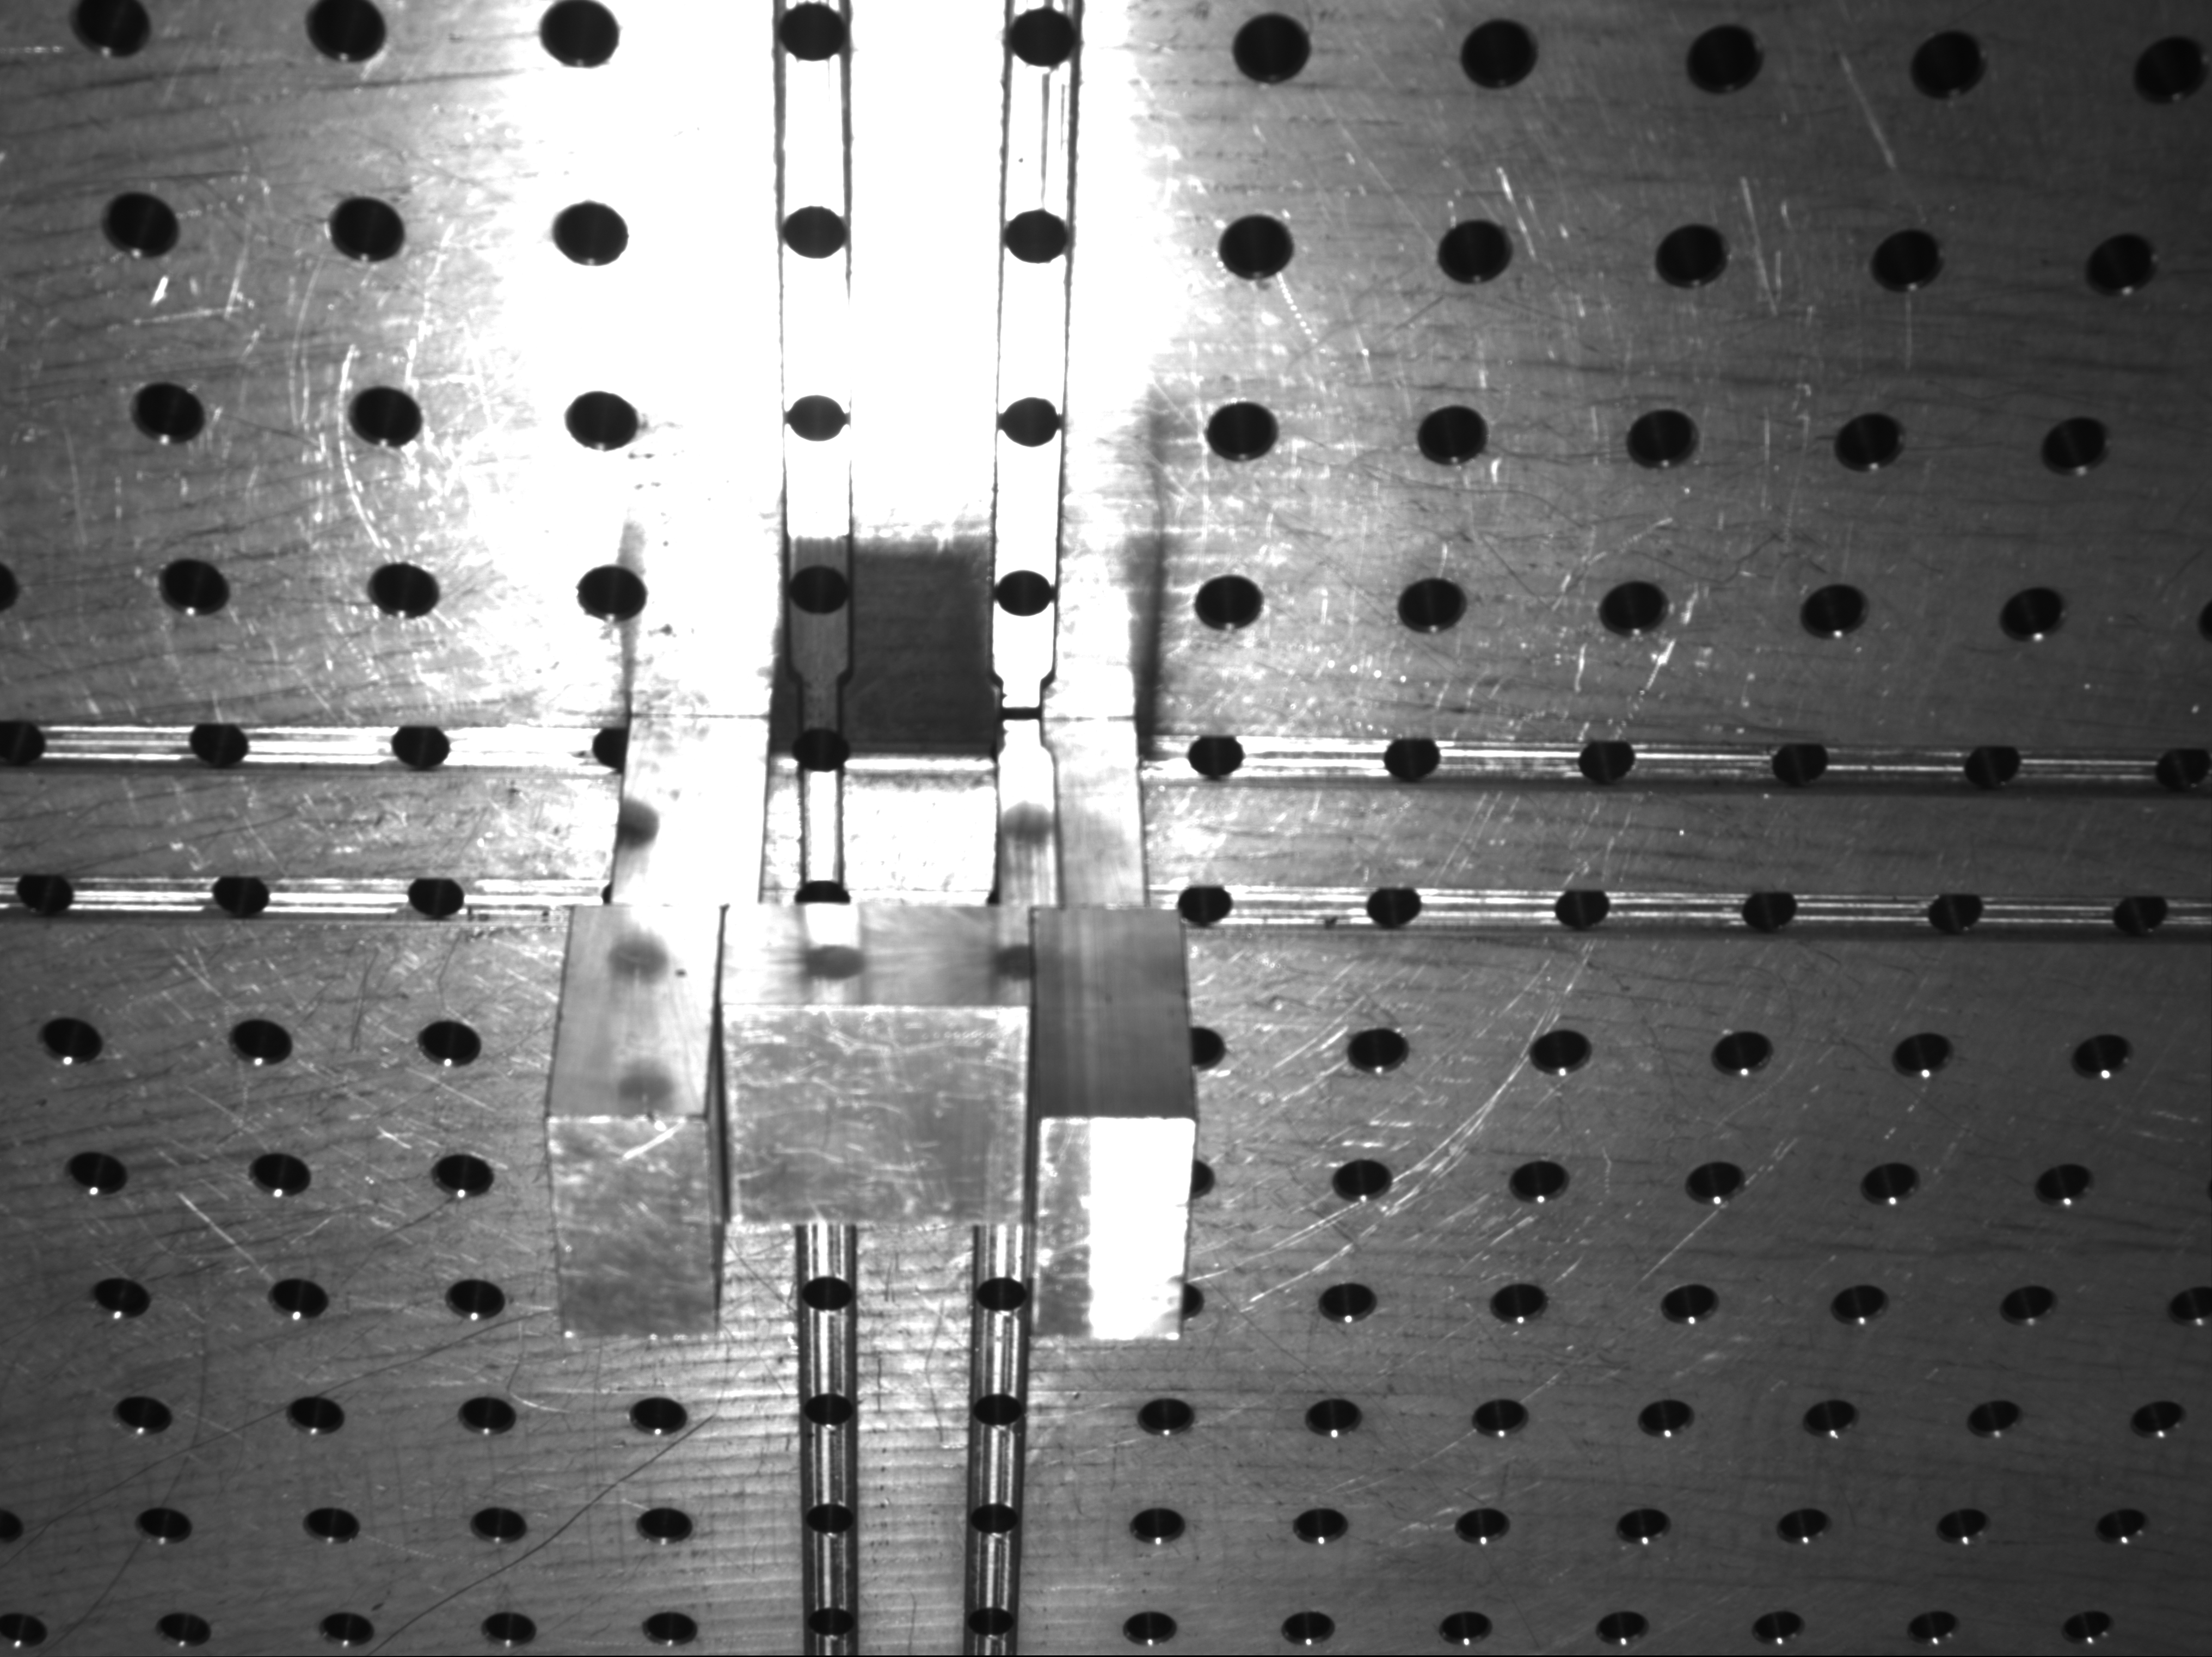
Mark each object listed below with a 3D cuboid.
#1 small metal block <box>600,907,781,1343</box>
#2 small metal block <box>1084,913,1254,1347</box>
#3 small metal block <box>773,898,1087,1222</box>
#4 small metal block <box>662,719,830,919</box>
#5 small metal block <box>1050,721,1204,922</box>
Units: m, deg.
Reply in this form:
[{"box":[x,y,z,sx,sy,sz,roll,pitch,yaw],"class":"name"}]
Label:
[{"box":[-0.066,0.048,0.597,0.025,0.050,0.050,1,129,-2],"class":"small metal block"},{"box":[0.009,0.049,0.600,0.025,0.050,0.050,1,129,-2],"class":"small metal block"},{"box":[-0.029,0.039,0.609,0.050,0.025,0.050,1,130,-2],"class":"small metal block"},{"box":[-0.062,0.016,0.636,0.025,0.050,0.050,1,130,-2],"class":"small metal block"},{"box":[0.003,0.016,0.638,0.025,0.050,0.050,-1,130,-1],"class":"small metal block"}]
